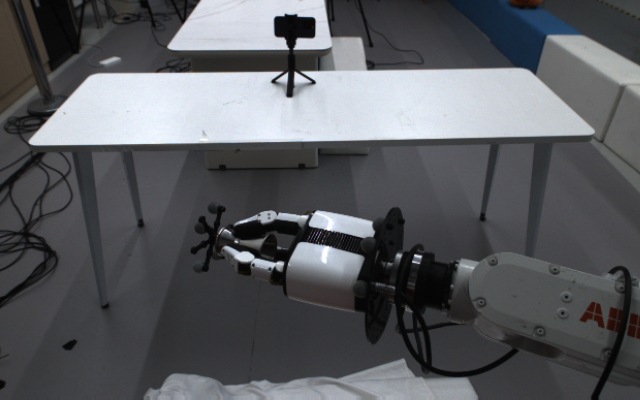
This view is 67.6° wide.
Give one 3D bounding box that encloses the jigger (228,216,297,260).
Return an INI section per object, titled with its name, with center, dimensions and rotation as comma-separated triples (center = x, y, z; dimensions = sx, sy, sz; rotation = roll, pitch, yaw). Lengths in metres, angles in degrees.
[jigger]
center = -0.089, 0.057, 0.624
dimensions = 0.071, 0.043, 0.043
rotation = 10, 35, 22
